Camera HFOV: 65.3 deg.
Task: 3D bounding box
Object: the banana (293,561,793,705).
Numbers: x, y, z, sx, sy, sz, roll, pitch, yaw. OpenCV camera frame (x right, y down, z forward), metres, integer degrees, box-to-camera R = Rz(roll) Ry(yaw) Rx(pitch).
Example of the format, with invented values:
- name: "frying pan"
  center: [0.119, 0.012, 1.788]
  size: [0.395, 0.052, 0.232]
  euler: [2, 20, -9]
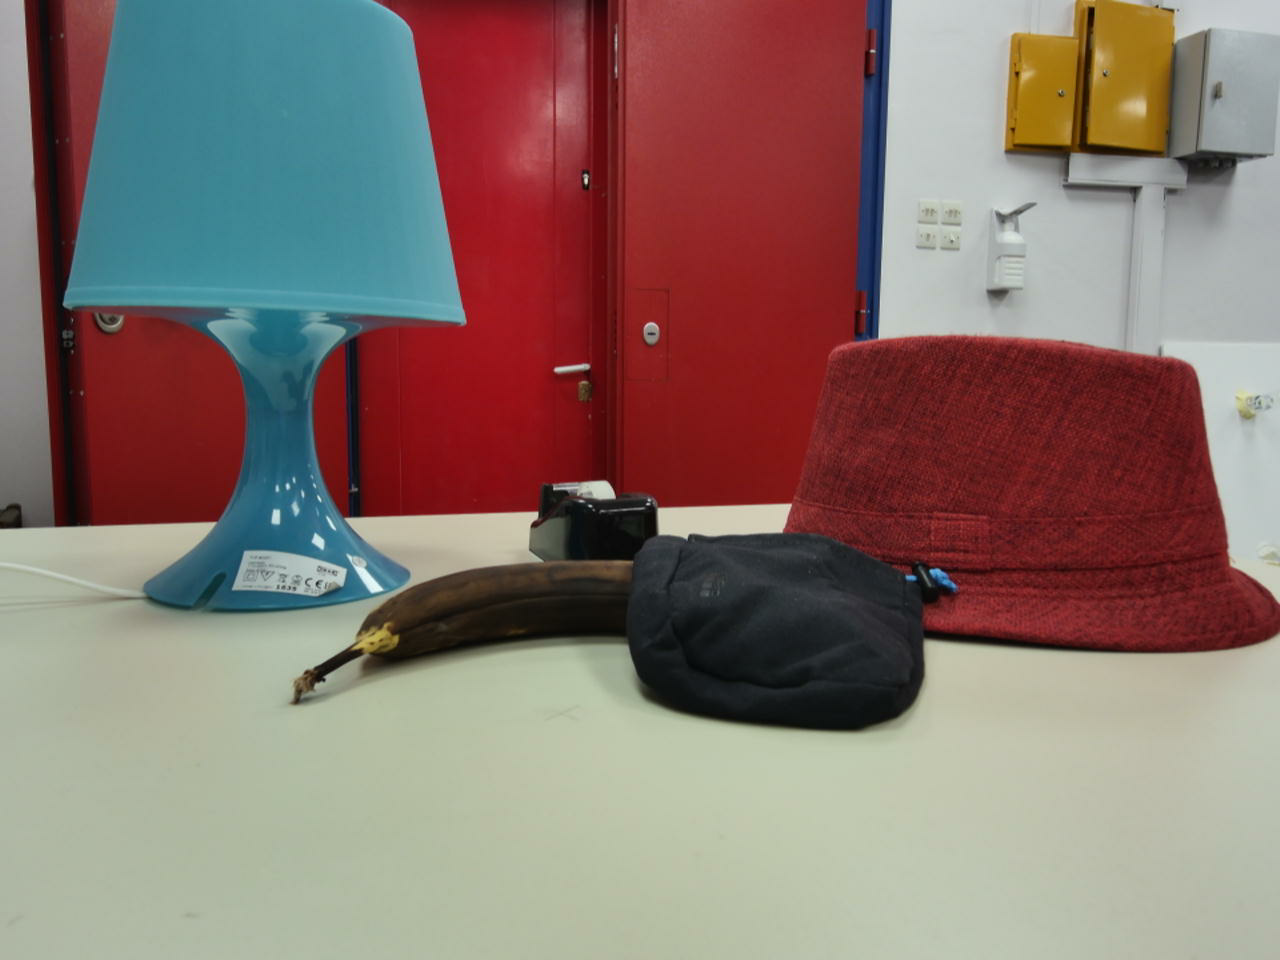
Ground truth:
- name: "banana"
  center: [-0.037, 0.054, 0.410]
  size: [0.188, 0.033, 0.091]
  euler: [-1, 4, -12]
